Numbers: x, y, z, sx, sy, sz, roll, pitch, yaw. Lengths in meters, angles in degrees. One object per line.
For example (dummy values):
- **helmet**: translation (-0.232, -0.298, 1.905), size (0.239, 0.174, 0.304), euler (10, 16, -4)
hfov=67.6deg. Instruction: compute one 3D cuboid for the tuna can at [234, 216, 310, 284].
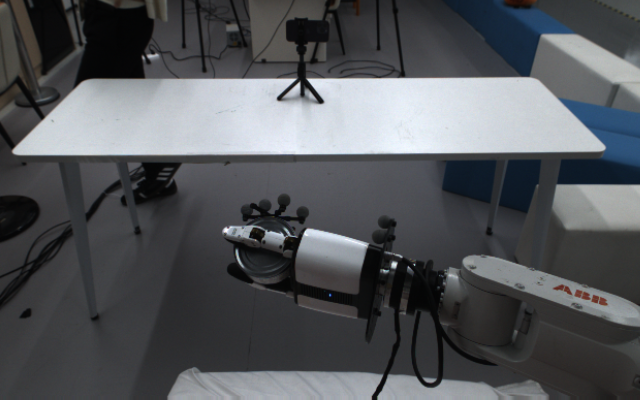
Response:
- **tuna can**: translation (-0.069, 0.066, 0.644), size (0.085, 0.034, 0.085), euler (-4, 61, 6)
